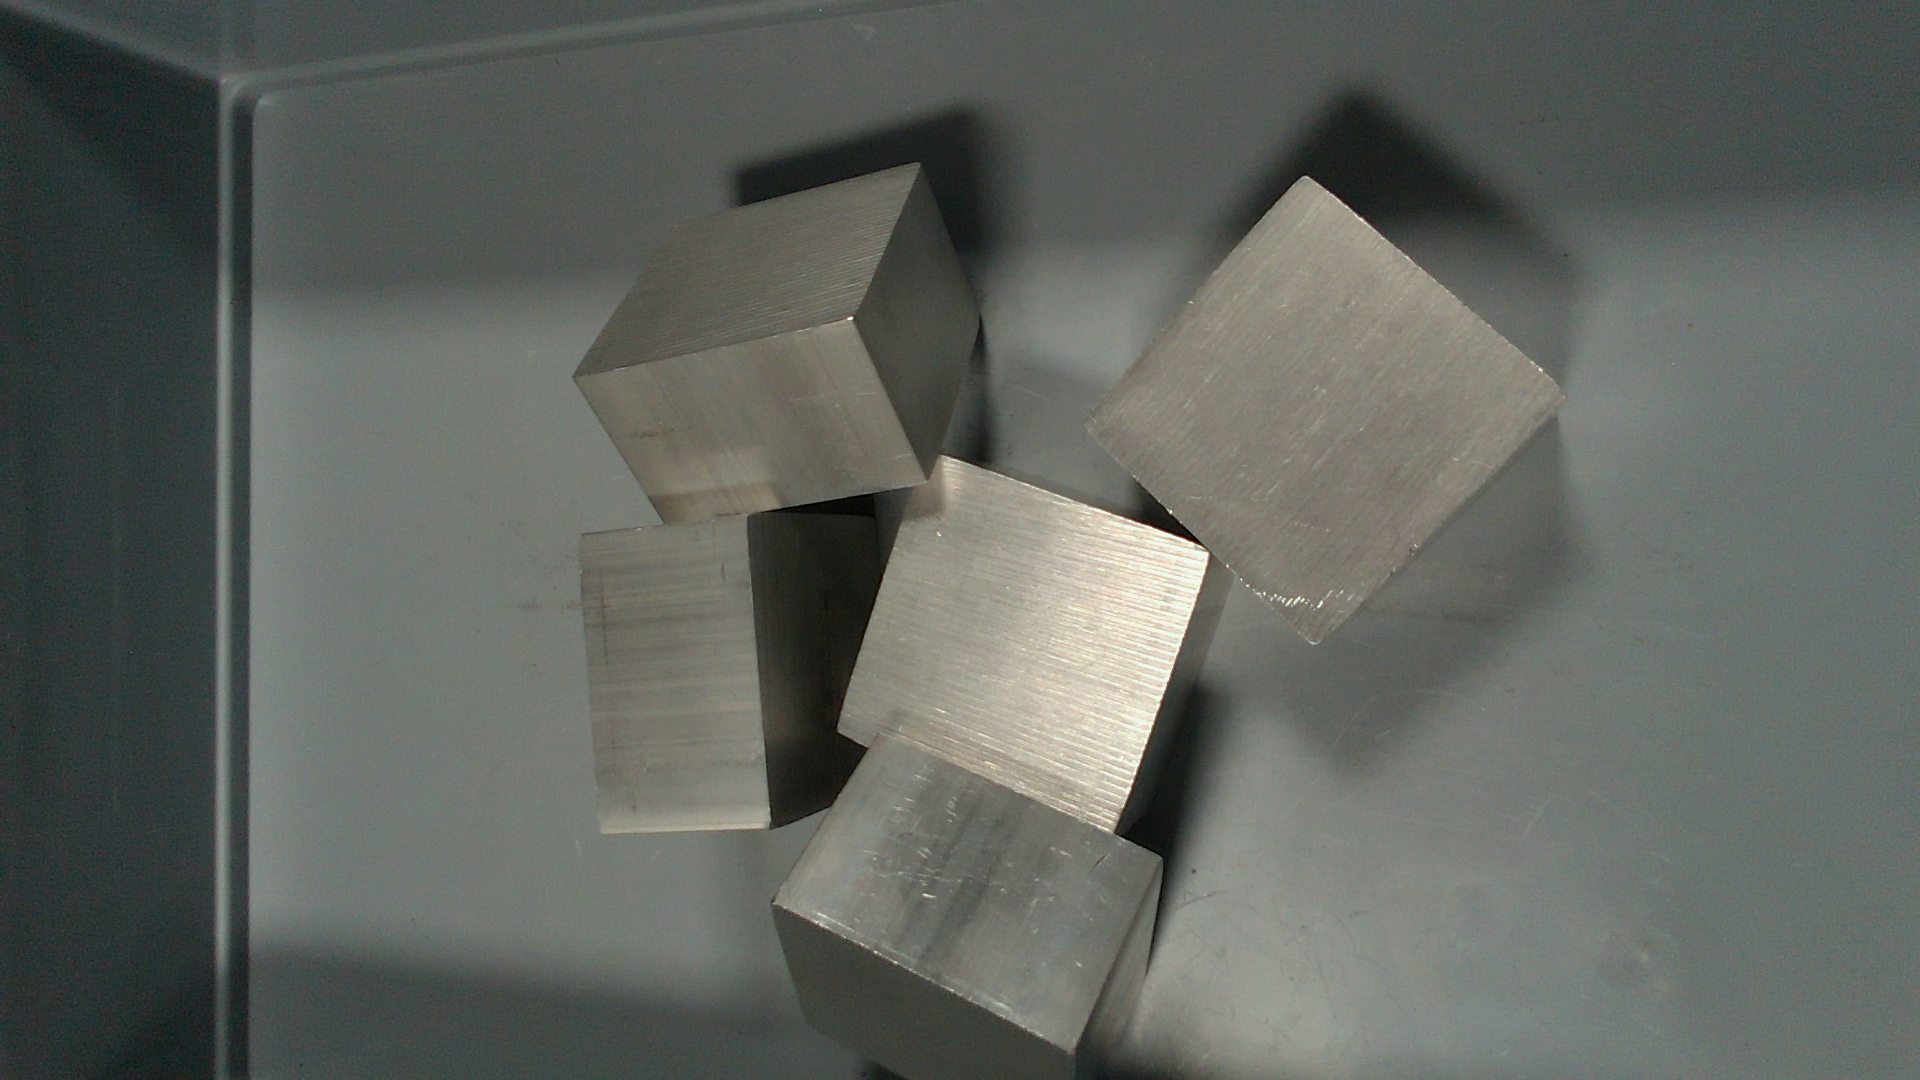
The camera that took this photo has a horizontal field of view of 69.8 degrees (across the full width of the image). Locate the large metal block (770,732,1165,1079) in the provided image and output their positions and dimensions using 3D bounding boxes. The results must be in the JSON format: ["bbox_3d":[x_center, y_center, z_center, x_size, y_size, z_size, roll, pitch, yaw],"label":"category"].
[{"bbox_3d":[0.003,0.105,0.358,0.080,0.080,0.050,21,55,17],"label":"large metal block"}]

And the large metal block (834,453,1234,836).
[{"bbox_3d":[0.023,0.027,0.374,0.080,0.050,0.080,20,97,19],"label":"large metal block"}]

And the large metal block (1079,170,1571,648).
[{"bbox_3d":[0.091,-0.031,0.348,0.080,0.050,0.080,45,104,14],"label":"large metal block"}]

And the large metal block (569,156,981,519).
[{"bbox_3d":[-0.046,-0.055,0.376,0.080,0.080,0.050,-8,129,21],"label":"large metal block"}]

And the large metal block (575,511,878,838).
[{"bbox_3d":[-0.060,0.035,0.388,0.050,0.080,0.080,-6,88,20],"label":"large metal block"}]
